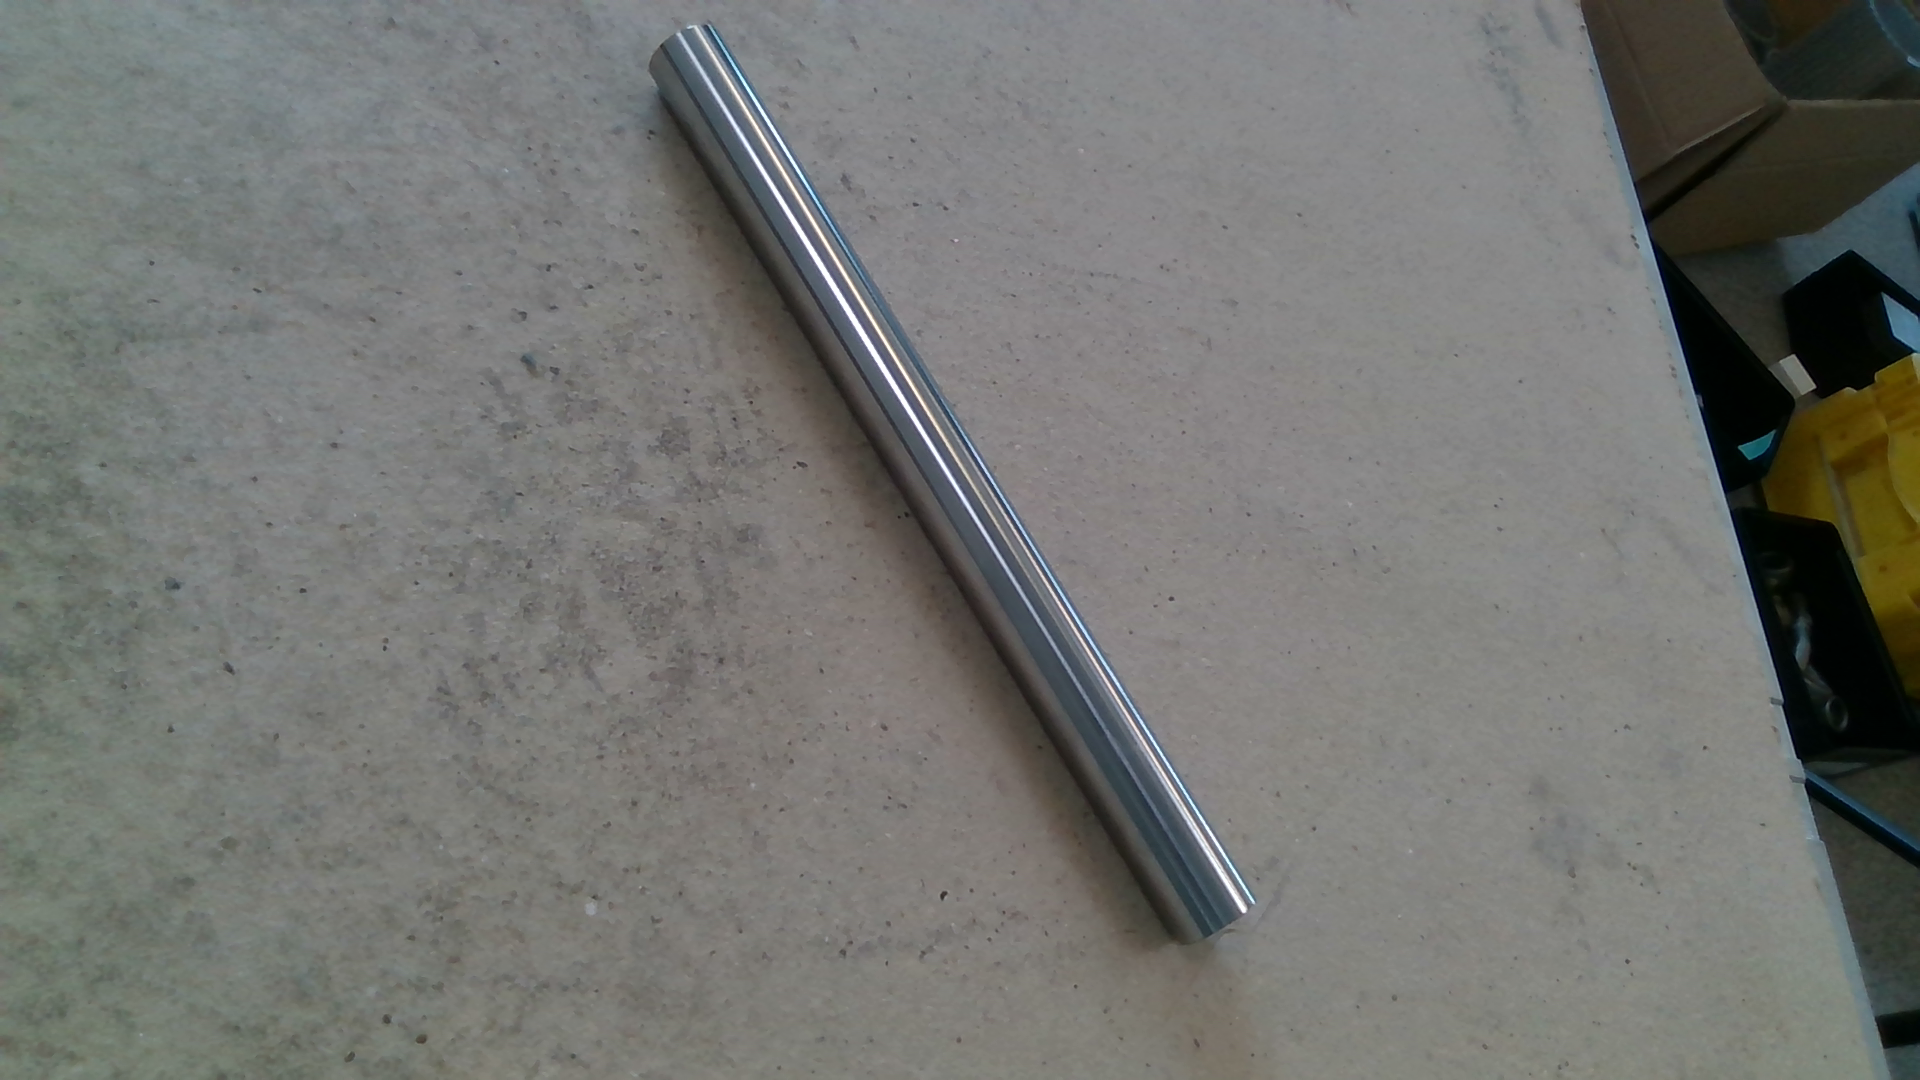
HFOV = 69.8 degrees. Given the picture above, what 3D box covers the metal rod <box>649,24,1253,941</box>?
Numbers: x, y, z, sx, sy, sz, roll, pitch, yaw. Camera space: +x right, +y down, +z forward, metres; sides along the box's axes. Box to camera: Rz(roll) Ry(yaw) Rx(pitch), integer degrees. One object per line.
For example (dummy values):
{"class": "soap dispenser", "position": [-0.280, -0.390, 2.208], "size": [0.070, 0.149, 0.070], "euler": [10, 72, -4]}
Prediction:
{"class": "metal rod", "position": [-0.007, -0.023, 0.402], "size": [0.025, 0.025, 0.300], "euler": [-25, 80, -38]}
